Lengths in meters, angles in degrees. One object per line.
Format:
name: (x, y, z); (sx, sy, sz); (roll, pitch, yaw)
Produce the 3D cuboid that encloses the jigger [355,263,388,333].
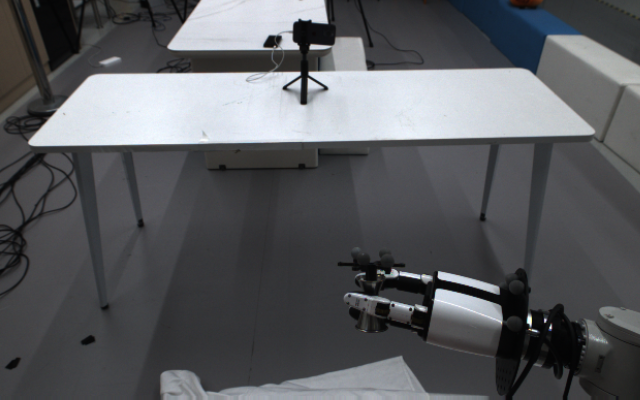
jigger: (0.069, 0.136, 0.649); (0.043, 0.071, 0.043); (-1, 2, 0)
